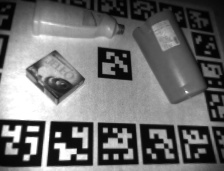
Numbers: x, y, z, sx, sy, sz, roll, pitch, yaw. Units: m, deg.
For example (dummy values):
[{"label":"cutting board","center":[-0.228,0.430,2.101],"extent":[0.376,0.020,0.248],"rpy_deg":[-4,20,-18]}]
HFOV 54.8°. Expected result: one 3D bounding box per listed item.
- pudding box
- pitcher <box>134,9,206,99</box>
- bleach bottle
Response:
[{"label":"pudding box","center":[-0.136,-0.037,0.553],"extent":[0.113,0.038,0.090],"rpy_deg":[46,58,4]},{"label":"pitcher","center":[0.178,-0.089,0.640],"extent":[0.191,0.132,0.242],"rpy_deg":[-11,74,-55]},{"label":"bleach bottle","center":[-0.082,-0.197,0.626],"extent":[0.253,0.067,0.102],"rpy_deg":[1,72,-18]}]
